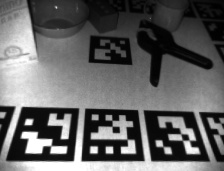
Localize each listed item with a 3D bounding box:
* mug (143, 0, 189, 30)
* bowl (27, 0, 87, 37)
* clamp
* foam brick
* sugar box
[{"bbox_3d":[0.140,-0.214,0.593,0.117,0.081,0.093,24,54,8],"label":"mug"},{"bbox_3d":[-0.145,-0.173,0.543,0.162,0.055,0.161,5,52,-5],"label":"bowl"},{"bbox_3d":[0.109,-0.103,0.527,0.166,0.037,0.201,-18,58,-18],"label":"clamp"},{"bbox_3d":[-0.030,-0.186,0.578,0.053,0.051,0.077,-22,59,-20],"label":"foam brick"},{"bbox_3d":[-0.211,-0.107,0.407,0.093,0.177,0.045,-19,58,-21],"label":"sugar box"}]
